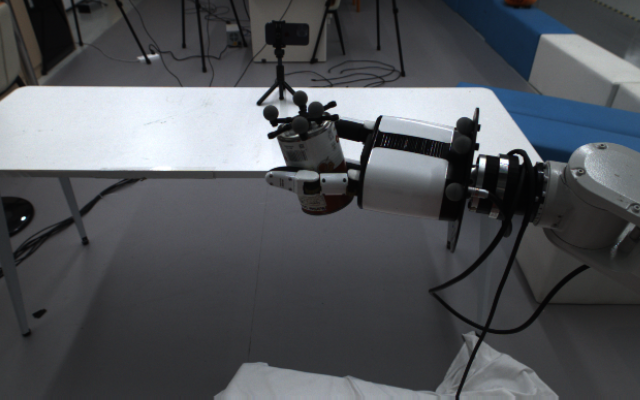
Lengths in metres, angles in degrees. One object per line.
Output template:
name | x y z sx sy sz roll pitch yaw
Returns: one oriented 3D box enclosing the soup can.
soup can | -0.003 -0.042 0.560 0.067 0.101 0.067 -13 31 8
